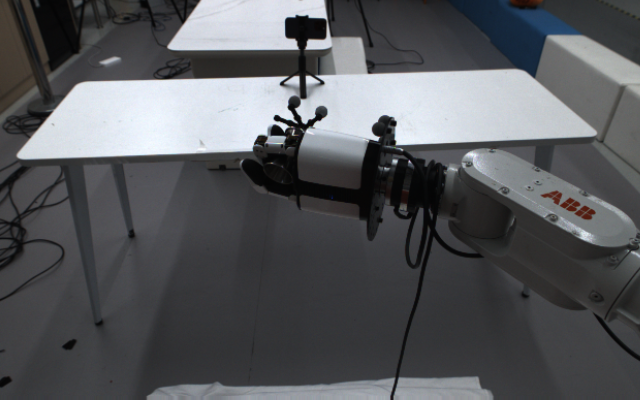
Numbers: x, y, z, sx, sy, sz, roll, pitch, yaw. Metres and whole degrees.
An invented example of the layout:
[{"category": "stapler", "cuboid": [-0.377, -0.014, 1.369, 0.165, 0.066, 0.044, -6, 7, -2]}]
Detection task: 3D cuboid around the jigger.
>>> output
[{"category": "jigger", "cuboid": [-0.042, -0.063, 0.650, 0.043, 0.043, 0.071, 15, 58, 18]}]
